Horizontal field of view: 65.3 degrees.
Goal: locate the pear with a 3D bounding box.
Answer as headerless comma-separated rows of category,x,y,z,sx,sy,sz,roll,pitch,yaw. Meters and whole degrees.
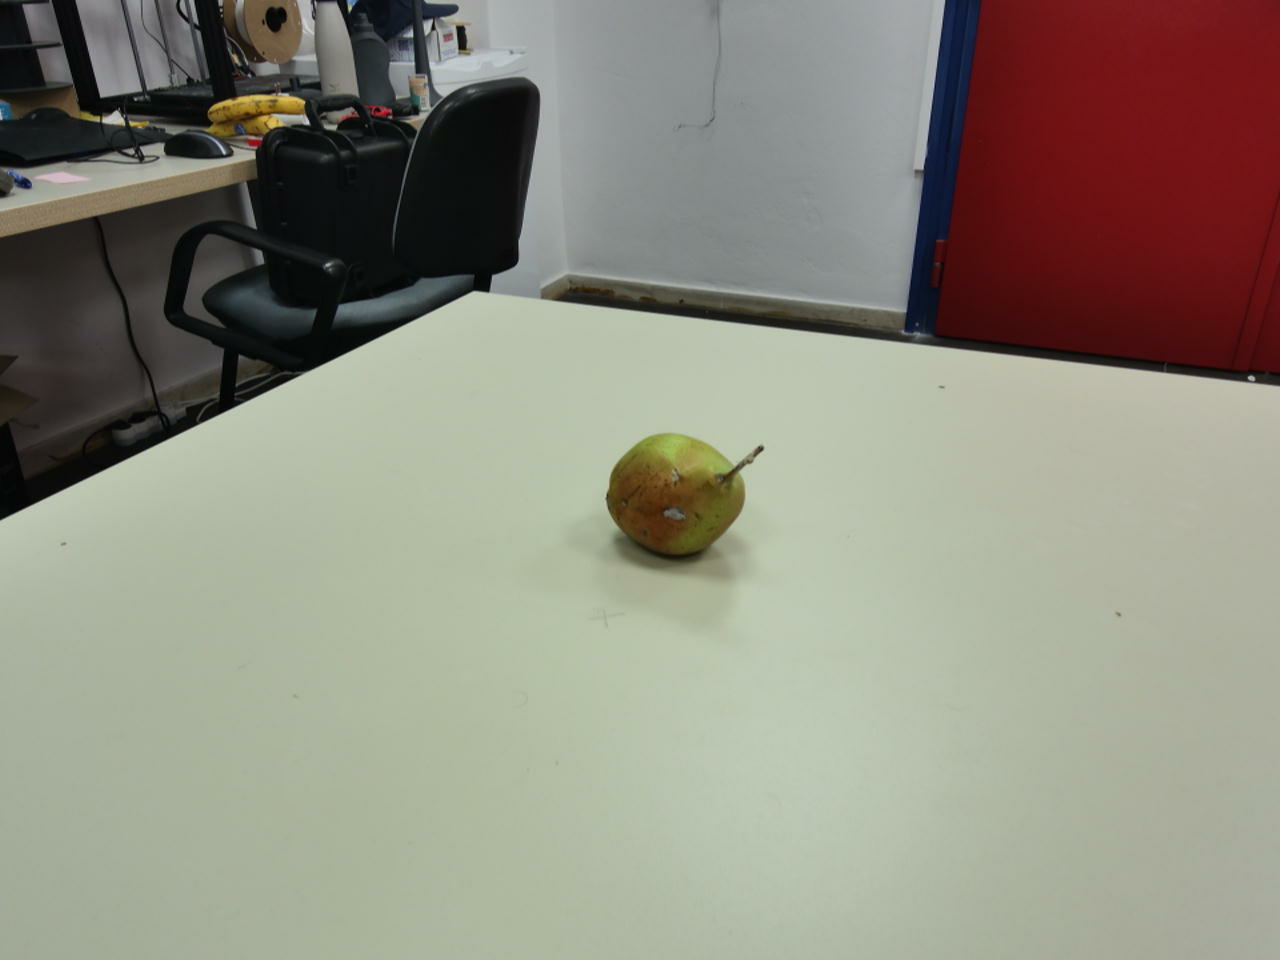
pear,0.018,0.005,0.517,0.068,0.069,0.070,-6,26,-13
